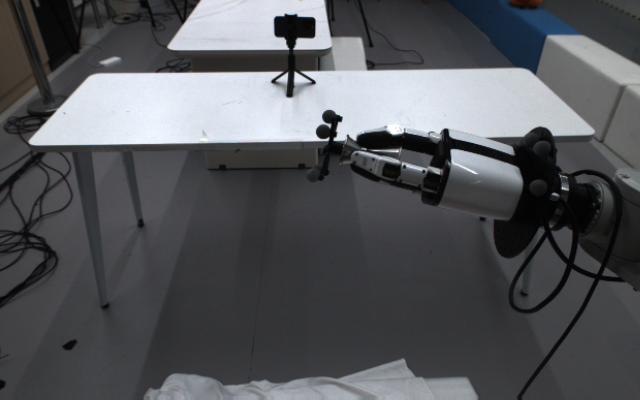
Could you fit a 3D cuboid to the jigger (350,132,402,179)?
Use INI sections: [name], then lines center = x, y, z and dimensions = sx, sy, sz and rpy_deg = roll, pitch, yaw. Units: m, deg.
[jigger]
center = 0.067, -0.054, 0.589
dimensions = 0.071, 0.043, 0.043
rpy_deg = 14, 36, 4
